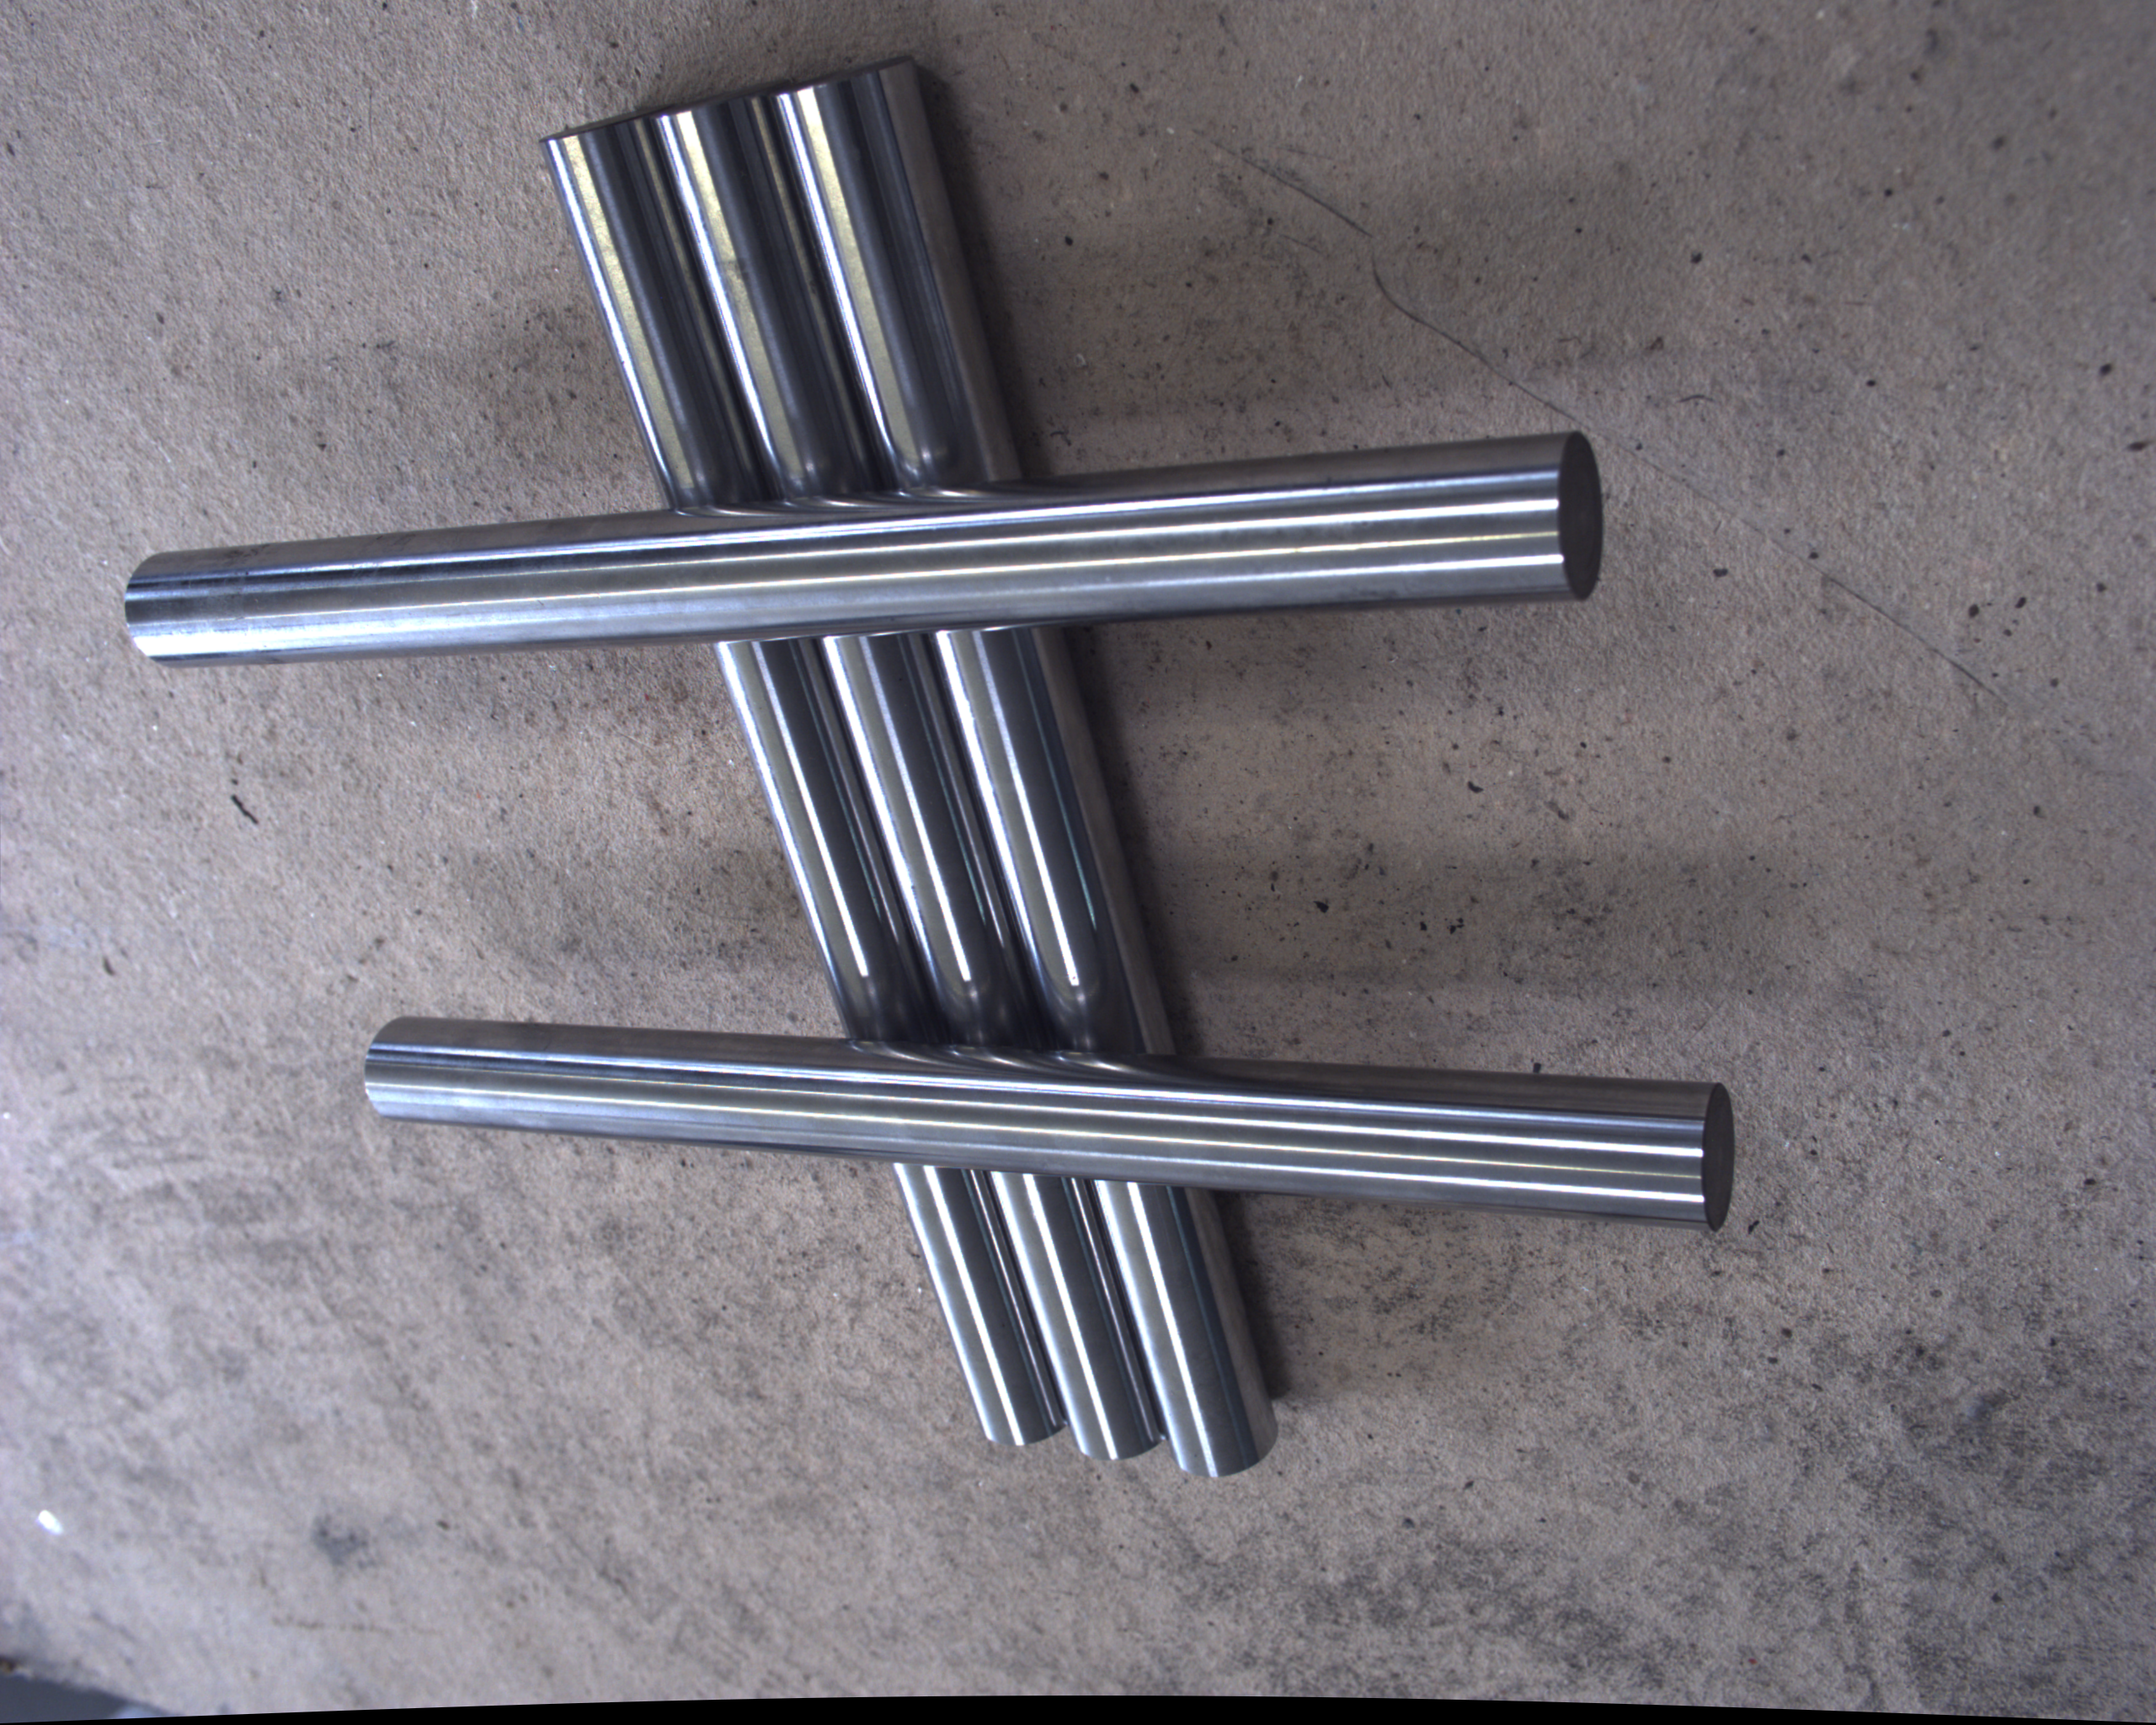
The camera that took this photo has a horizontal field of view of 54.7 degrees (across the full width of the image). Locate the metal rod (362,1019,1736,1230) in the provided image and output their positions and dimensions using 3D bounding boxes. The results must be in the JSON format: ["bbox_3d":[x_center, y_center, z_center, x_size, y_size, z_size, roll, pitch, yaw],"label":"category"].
[{"bbox_3d":[-0.025,0.049,0.419,0.300,0.025,0.025,0,119,28],"label":"metal rod"}]

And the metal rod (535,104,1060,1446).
[{"bbox_3d":[-0.048,-0.001,0.433,0.025,0.025,0.298,-1,118,29],"label":"metal rod"}]

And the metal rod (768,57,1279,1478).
[{"bbox_3d":[-0.003,-0.001,0.410,0.025,0.025,0.298,-1,118,29],"label":"metal rod"}]

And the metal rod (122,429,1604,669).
[{"bbox_3d":[-0.059,-0.052,0.375,0.300,0.025,0.025,1,119,27],"label":"metal rod"}]

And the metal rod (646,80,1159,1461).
[{"bbox_3d":[-0.026,-0.001,0.421,0.025,0.025,0.298,-1,118,29],"label":"metal rod"}]
